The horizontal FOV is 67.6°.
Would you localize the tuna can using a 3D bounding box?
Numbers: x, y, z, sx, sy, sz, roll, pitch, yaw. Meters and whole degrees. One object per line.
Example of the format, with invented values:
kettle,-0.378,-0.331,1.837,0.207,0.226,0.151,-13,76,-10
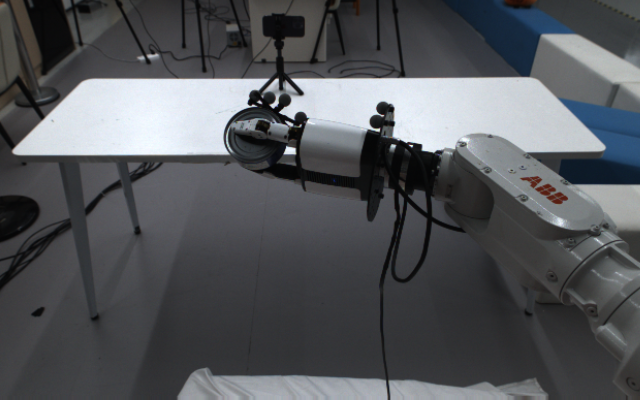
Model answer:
tuna can,-0.092,-0.087,0.692,0.085,0.034,0.085,-2,71,6
